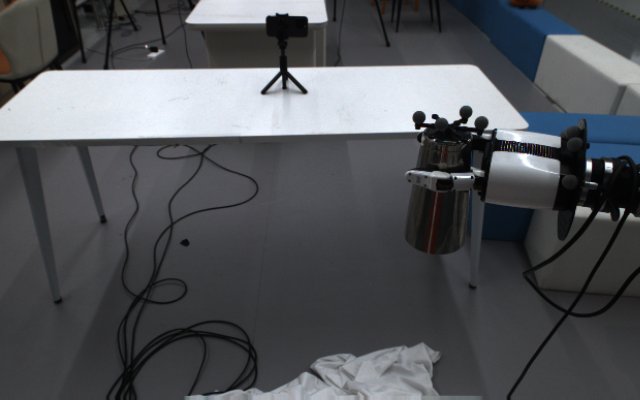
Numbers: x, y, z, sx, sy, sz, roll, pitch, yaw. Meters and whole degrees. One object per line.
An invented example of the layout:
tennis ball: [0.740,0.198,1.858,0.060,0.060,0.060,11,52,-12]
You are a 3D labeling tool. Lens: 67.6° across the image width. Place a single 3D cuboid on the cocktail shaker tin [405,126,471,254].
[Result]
cocktail shaker tin: [0.177,-0.022,0.697,0.093,0.170,0.093,-1,33,1]
